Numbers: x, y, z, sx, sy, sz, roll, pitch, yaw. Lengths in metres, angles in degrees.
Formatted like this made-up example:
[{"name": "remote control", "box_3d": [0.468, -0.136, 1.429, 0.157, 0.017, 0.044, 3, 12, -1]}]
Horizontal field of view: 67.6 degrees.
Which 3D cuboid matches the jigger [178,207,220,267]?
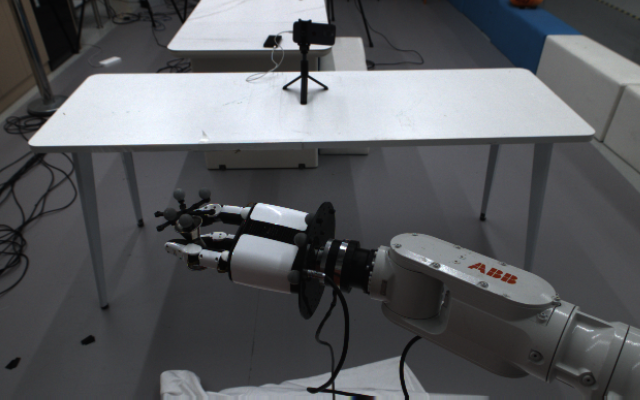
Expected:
[{"name": "jigger", "box_3d": [-0.175, 0.058, 0.692, 0.043, 0.071, 0.043, -8, 31, 5]}]
